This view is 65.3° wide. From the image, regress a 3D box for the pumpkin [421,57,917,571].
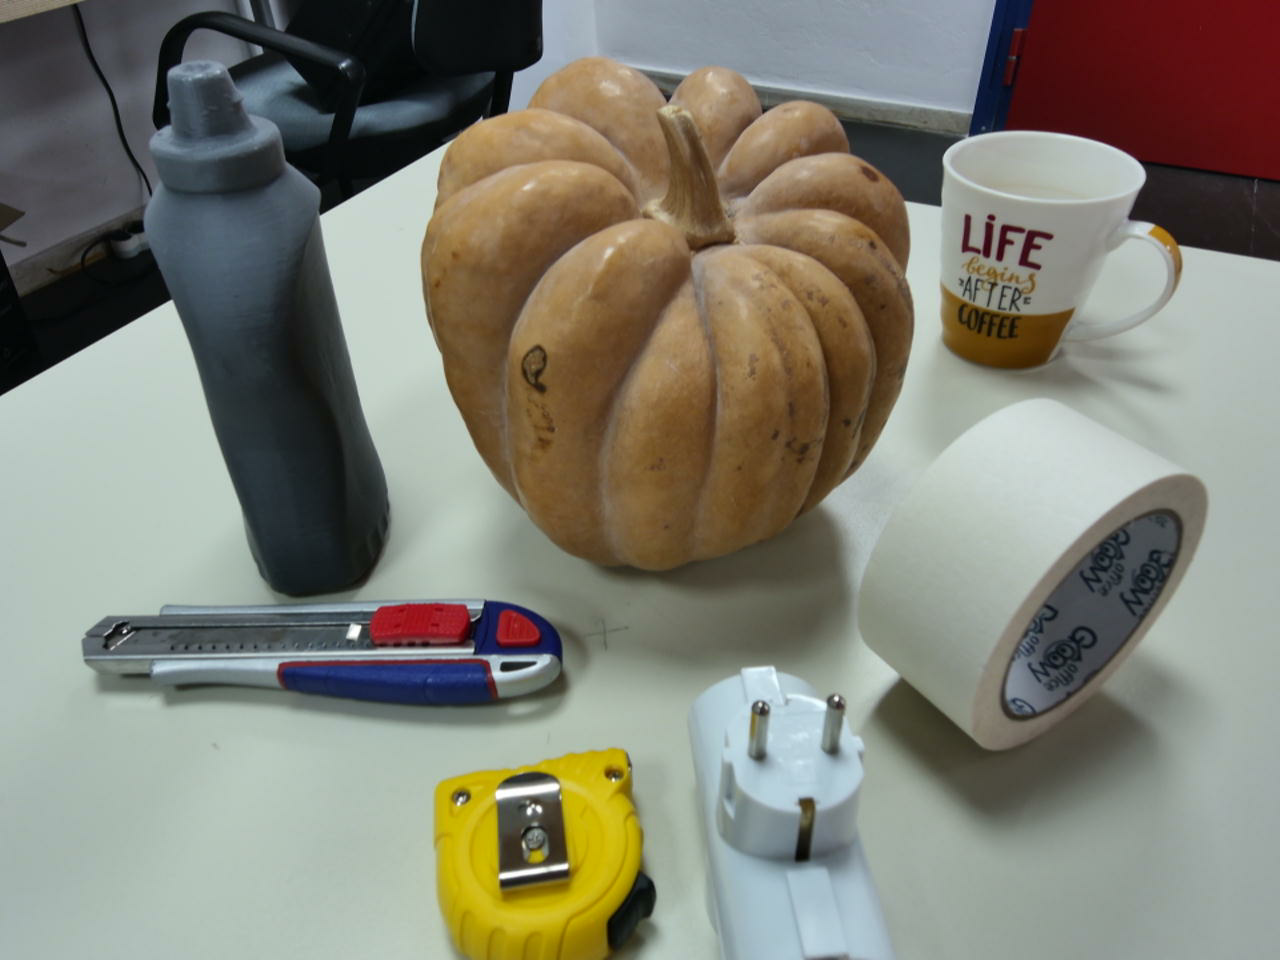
[{"bbox_3d":[0.010,-0.063,0.397,0.199,0.177,0.198,0,38,0],"label":"pumpkin"}]
